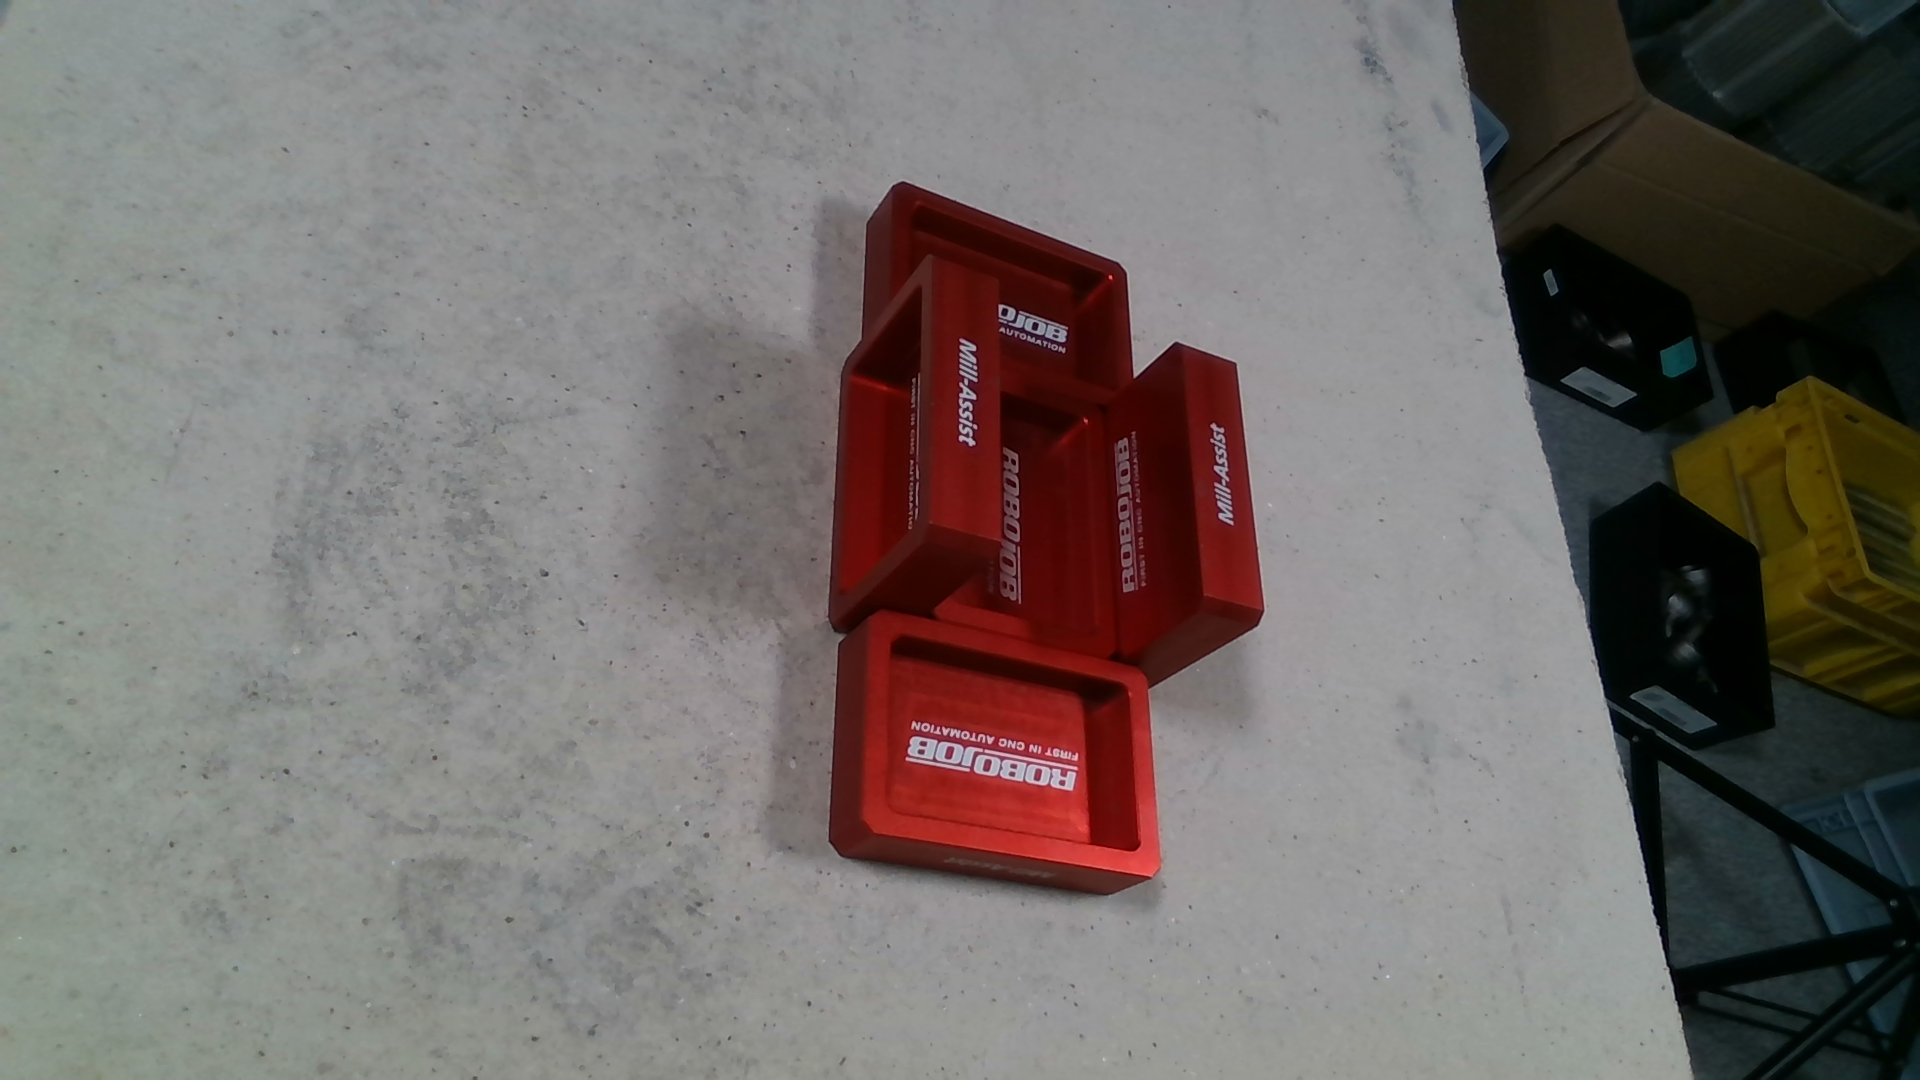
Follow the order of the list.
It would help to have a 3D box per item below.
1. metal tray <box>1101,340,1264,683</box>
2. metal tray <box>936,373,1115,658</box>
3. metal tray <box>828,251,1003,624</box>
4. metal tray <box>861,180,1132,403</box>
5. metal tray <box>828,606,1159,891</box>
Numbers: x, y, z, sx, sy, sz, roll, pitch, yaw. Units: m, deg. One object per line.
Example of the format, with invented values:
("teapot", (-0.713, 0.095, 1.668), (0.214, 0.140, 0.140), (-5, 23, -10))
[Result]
("metal tray", (0.087, -0.010, 0.603), (0.030, 0.090, 0.130), (14, 59, -25))
("metal tray", (0.020, -0.011, 0.601), (0.090, 0.030, 0.130), (15, 58, -25))
("metal tray", (-0.019, -0.038, 0.551), (0.030, 0.090, 0.130), (14, 59, -25))
("metal tray", (0.019, -0.108, 0.652), (0.130, 0.030, 0.090), (15, 58, -25))
("metal tray", (0.015, 0.085, 0.547), (0.130, 0.030, 0.090), (15, 58, -25))
